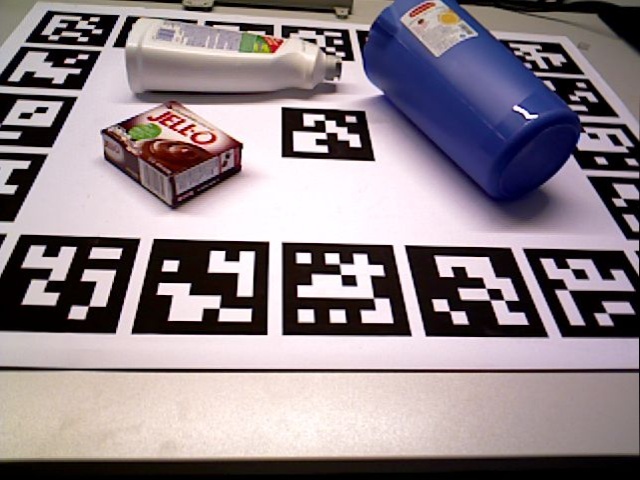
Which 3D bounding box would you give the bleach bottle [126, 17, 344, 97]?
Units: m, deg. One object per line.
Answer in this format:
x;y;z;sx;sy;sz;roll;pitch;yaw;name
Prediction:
-0.095;-0.215;0.650;0.248;0.069;0.101;1;50;-9;bleach bottle

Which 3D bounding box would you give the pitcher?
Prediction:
0.169;-0.140;0.587;0.186;0.136;0.241;12;38;-48;pitcher

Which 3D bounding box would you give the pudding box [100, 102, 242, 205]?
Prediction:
-0.147;-0.089;0.532;0.114;0.039;0.088;38;47;24;pudding box
